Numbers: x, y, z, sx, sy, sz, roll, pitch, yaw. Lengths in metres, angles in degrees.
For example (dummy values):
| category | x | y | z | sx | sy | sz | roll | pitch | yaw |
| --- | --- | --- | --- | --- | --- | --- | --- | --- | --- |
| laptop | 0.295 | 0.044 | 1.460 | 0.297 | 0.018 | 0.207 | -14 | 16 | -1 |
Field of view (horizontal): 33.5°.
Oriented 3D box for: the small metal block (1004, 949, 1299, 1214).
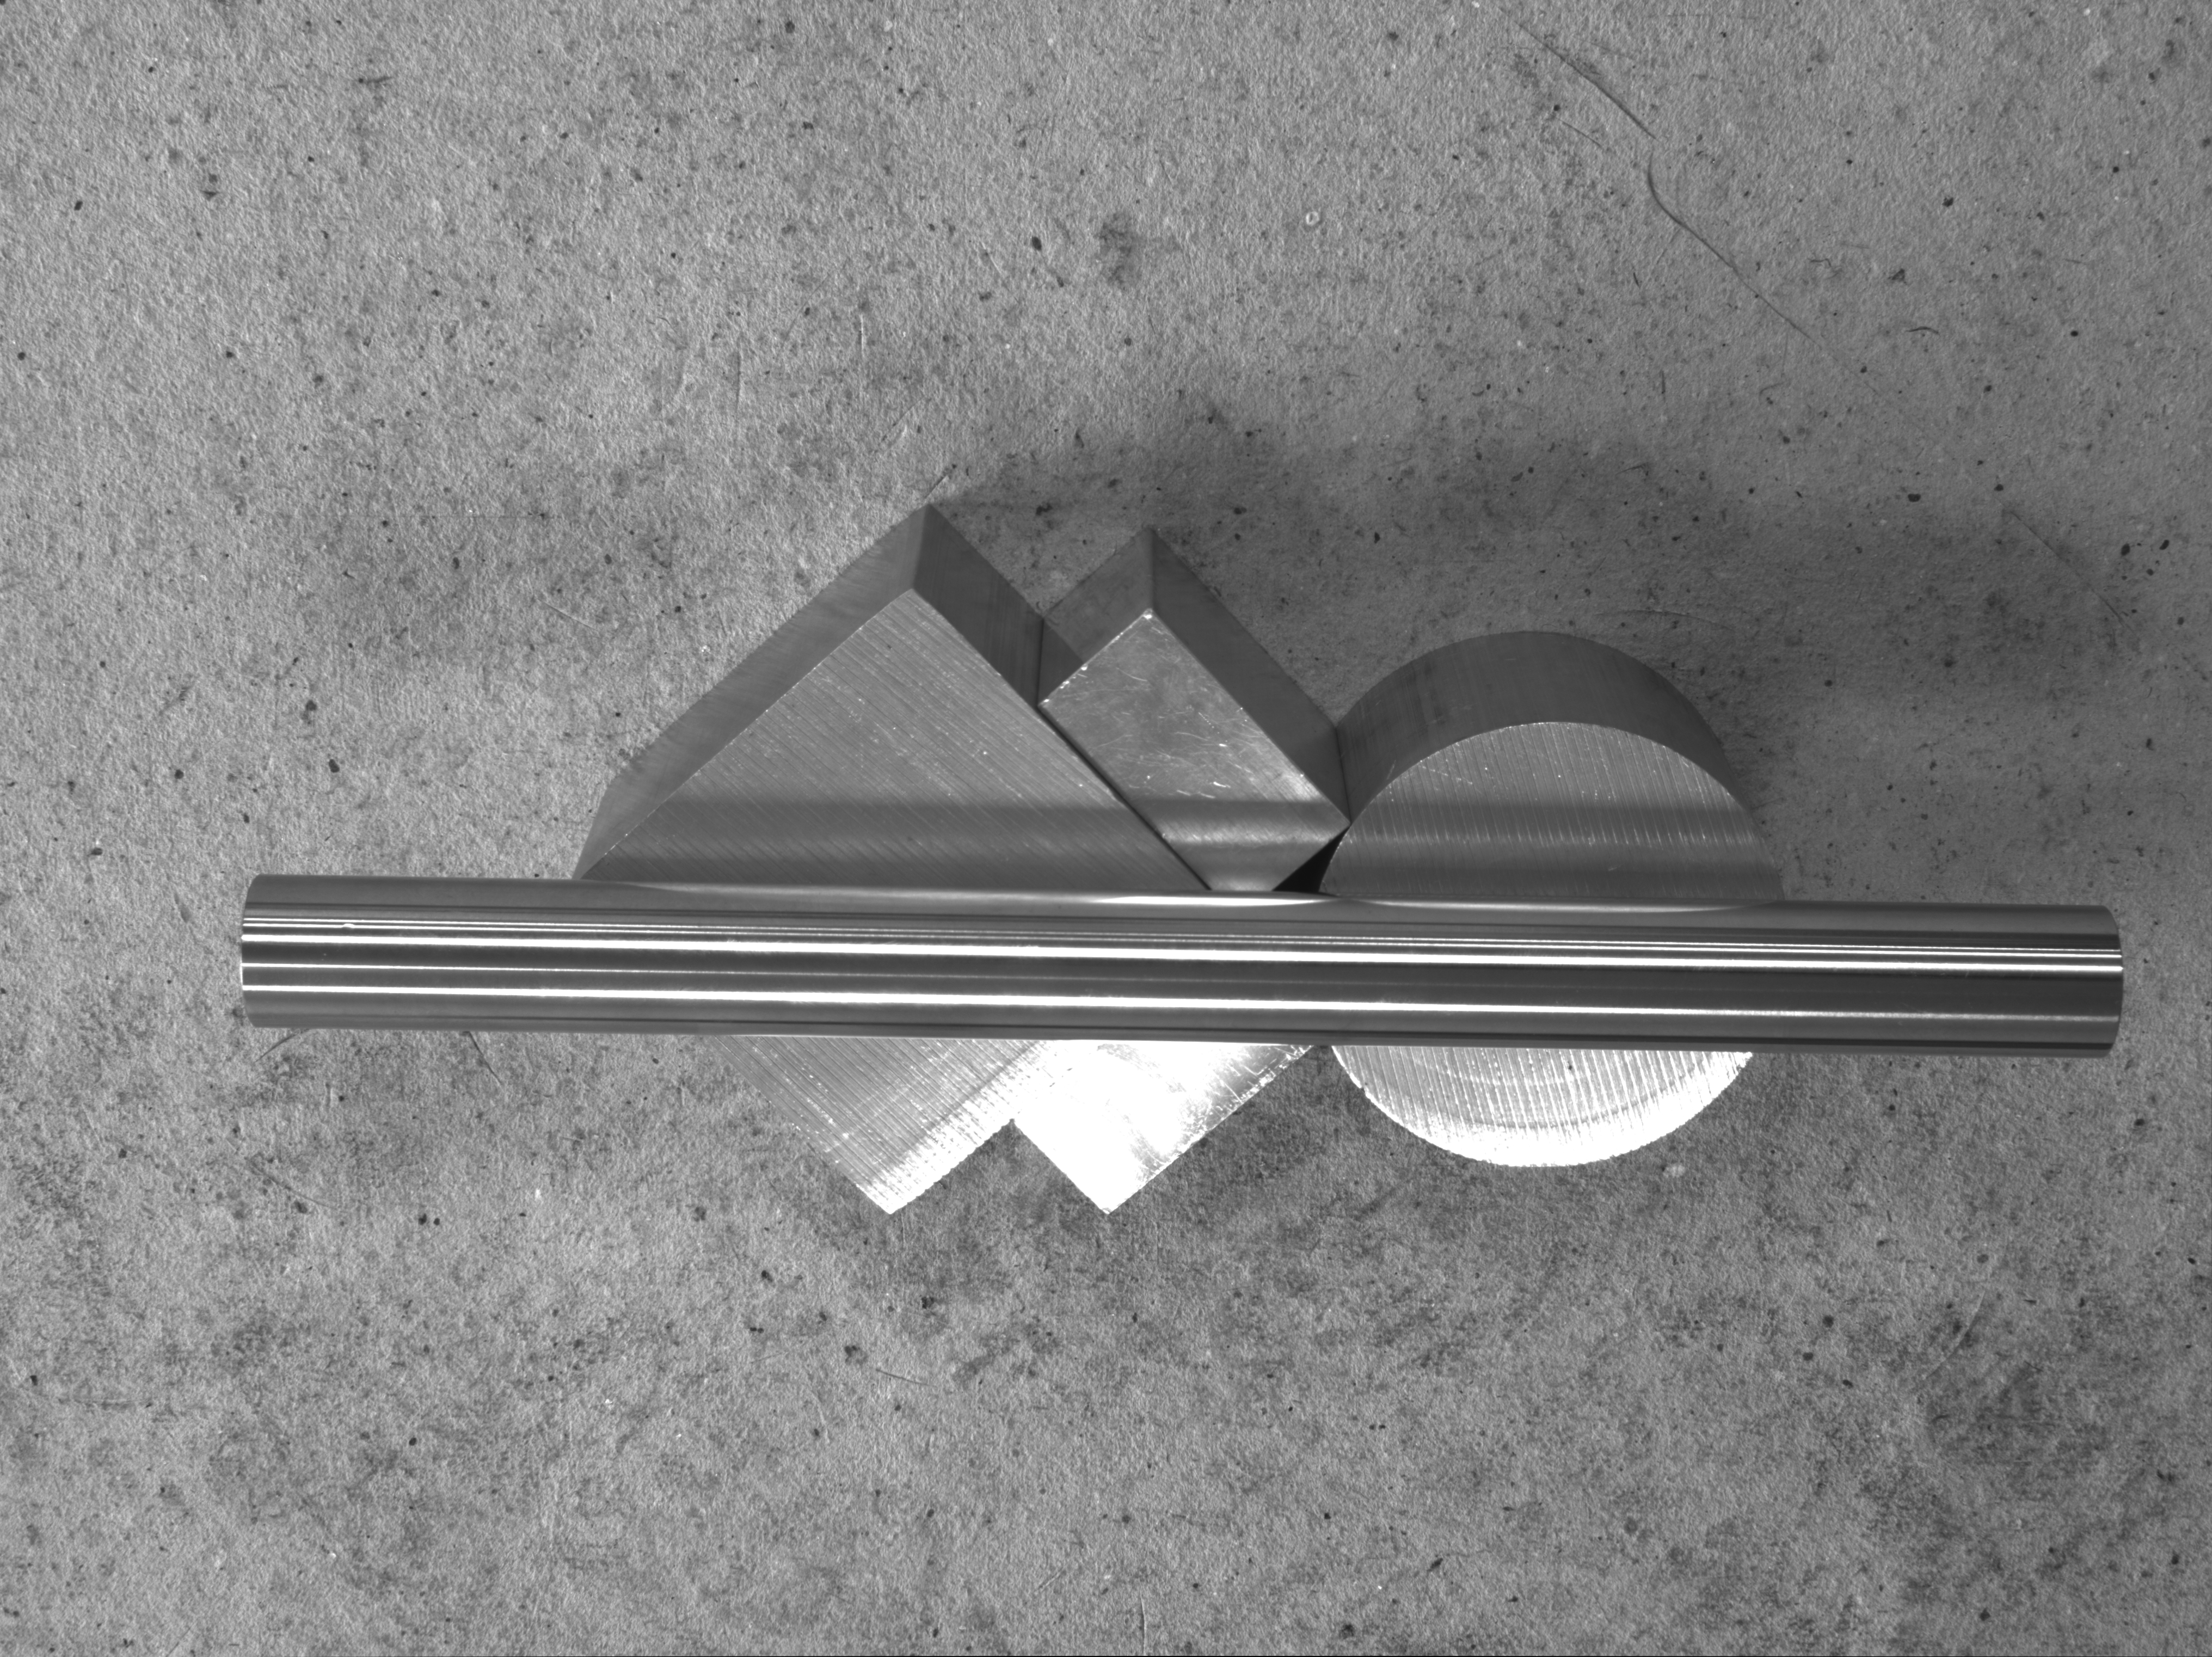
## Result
| category | x | y | z | sx | sy | sz | roll | pitch | yaw |
| --- | --- | --- | --- | --- | --- | --- | --- | --- | --- |
| small metal block | 0.010 | 0.033 | 0.644 | 0.050 | 0.050 | 0.025 | -41 | 105 | 13 |

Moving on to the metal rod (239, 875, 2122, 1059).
| category | x | y | z | sx | sy | sz | roll | pitch | yaw |
| --- | --- | --- | --- | --- | --- | --- | --- | --- | --- |
| metal rod | 0.012 | 0.023 | 0.597 | 0.300 | 0.025 | 0.025 | 1 | 110 | 0 |

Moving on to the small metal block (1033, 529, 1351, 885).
| category | x | y | z | sx | sy | sz | roll | pitch | yaw |
| --- | --- | --- | --- | --- | --- | --- | --- | --- | --- |
| small metal block | 0.014 | -0.019 | 0.625 | 0.025 | 0.050 | 0.050 | -41 | 105 | 13 |

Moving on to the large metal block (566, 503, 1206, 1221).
| category | x | y | z | sx | sy | sz | roll | pitch | yaw |
| --- | --- | --- | --- | --- | --- | --- | --- | --- | --- |
| large metal block | -0.034 | 0.005 | 0.631 | 0.080 | 0.050 | 0.080 | -40 | 105 | 13 |

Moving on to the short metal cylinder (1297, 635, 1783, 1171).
| category | x | y | z | sx | sy | sz | roll | pitch | yaw |
| --- | --- | --- | --- | --- | --- | --- | --- | --- | --- |
| short metal cylinder | 0.073 | 0.012 | 0.635 | 0.080 | 0.050 | 0.080 | 0 | 110 | 0 |
